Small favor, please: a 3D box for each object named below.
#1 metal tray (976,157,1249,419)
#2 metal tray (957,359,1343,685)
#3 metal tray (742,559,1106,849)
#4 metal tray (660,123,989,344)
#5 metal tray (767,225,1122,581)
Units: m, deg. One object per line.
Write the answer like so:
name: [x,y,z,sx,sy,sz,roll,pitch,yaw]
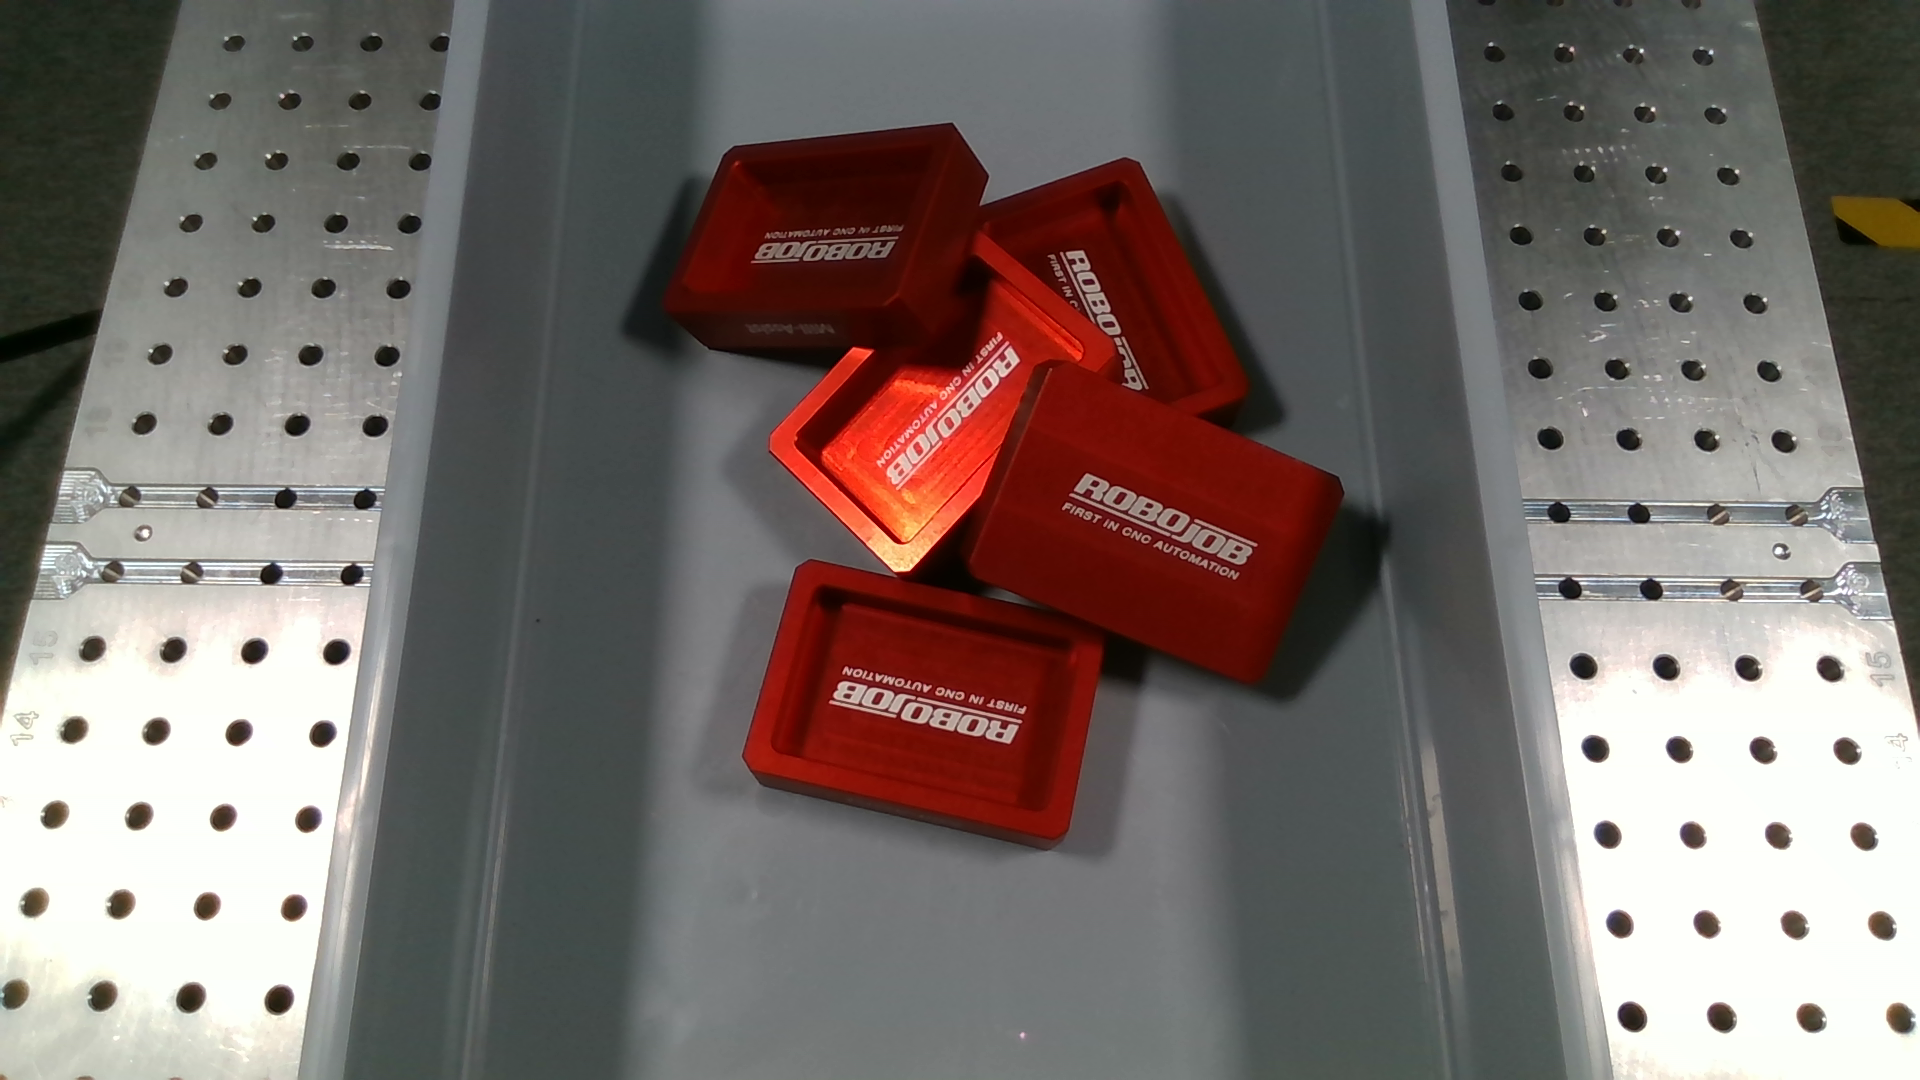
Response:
metal tray: [0.061,-0.101,0.620,0.090,0.030,0.130,-20,72,-7]
metal tray: [0.076,-0.007,0.550,0.130,0.030,0.090,22,94,-12]
metal tray: [-0.013,0.066,0.560,0.130,0.030,0.090,12,71,4]
metal tray: [-0.060,-0.131,0.600,0.130,0.030,0.090,5,67,32]
metal tray: [-0.006,-0.057,0.582,0.130,0.030,0.090,-47,69,0]
